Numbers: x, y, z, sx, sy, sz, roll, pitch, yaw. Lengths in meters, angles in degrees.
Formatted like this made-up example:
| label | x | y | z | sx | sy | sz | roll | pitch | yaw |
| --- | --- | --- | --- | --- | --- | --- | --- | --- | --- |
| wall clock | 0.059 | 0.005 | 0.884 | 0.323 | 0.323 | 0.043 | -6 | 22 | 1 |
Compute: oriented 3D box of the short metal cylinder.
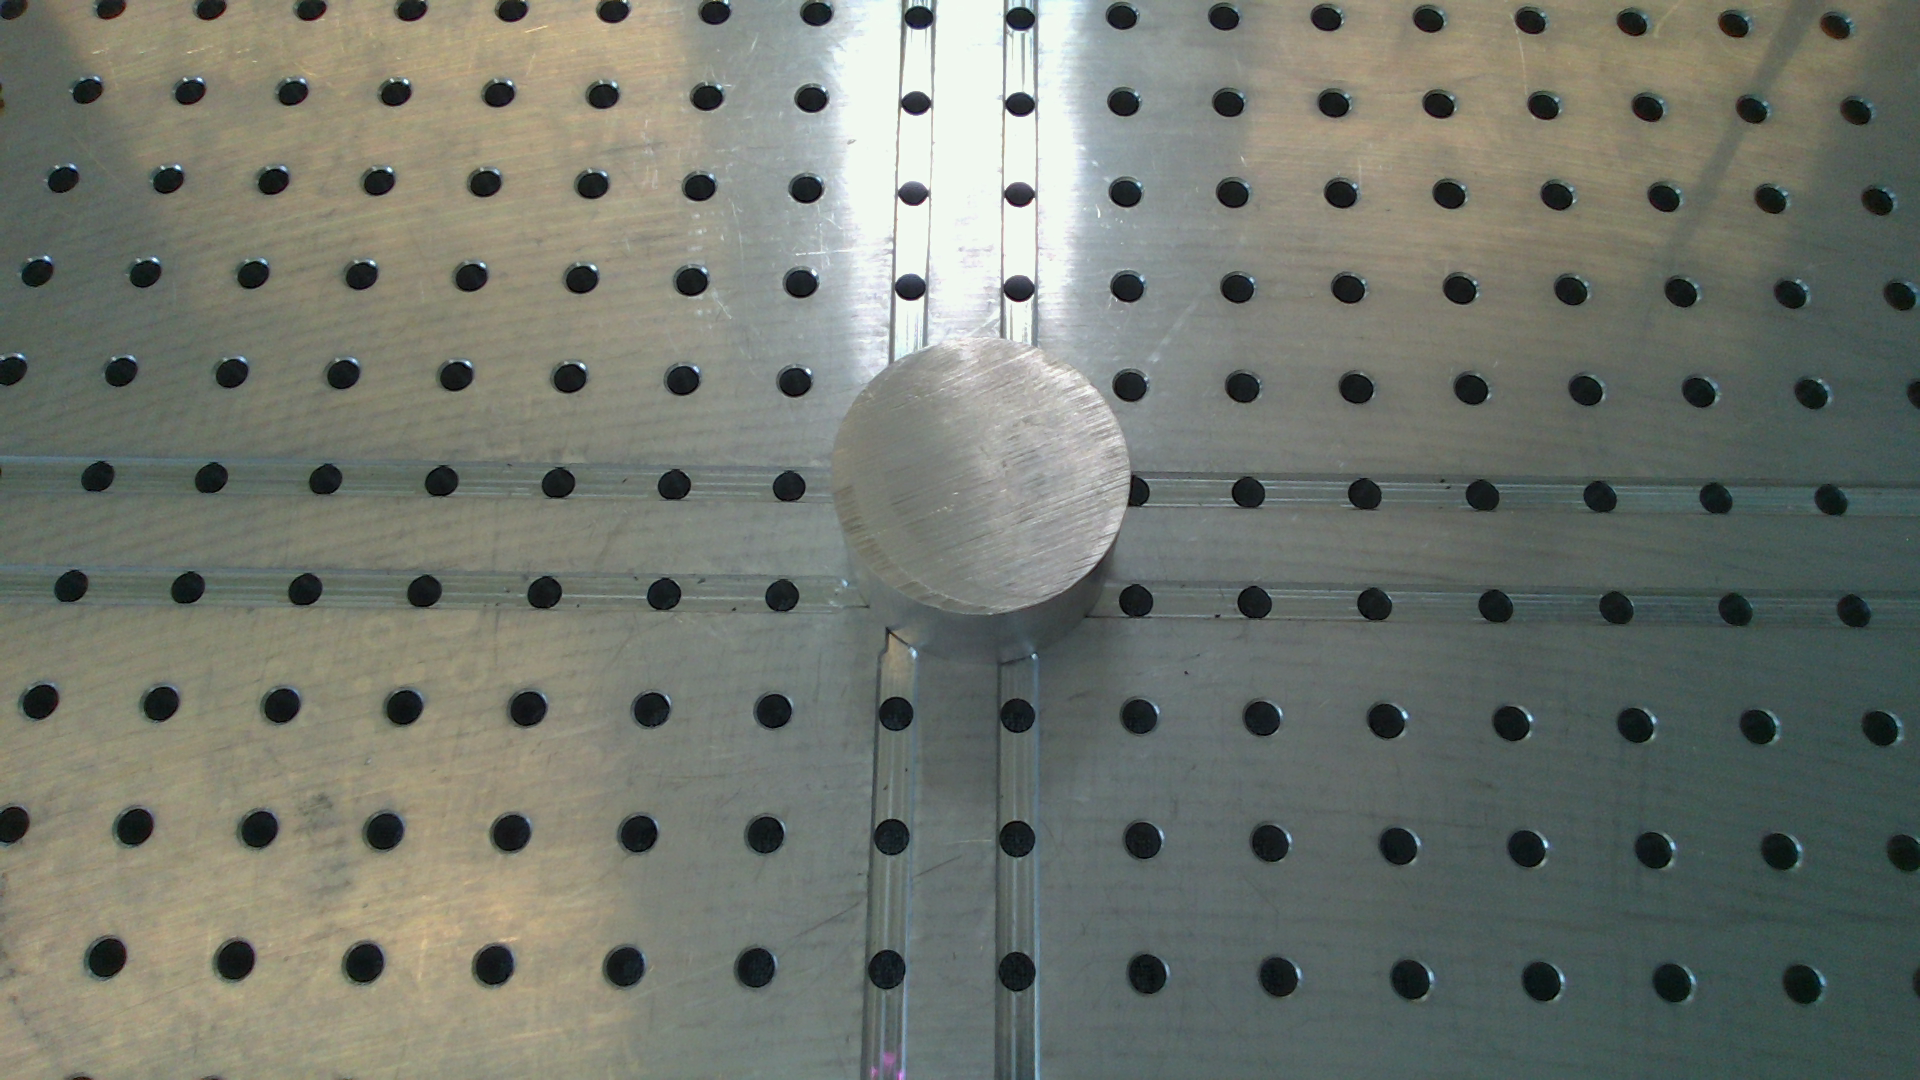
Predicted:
| label | x | y | z | sx | sy | sz | roll | pitch | yaw |
| --- | --- | --- | --- | --- | --- | --- | --- | --- | --- |
| short metal cylinder | 0.005 | -0.010 | 0.387 | 0.080 | 0.050 | 0.080 | 0 | 70 | 0 |
